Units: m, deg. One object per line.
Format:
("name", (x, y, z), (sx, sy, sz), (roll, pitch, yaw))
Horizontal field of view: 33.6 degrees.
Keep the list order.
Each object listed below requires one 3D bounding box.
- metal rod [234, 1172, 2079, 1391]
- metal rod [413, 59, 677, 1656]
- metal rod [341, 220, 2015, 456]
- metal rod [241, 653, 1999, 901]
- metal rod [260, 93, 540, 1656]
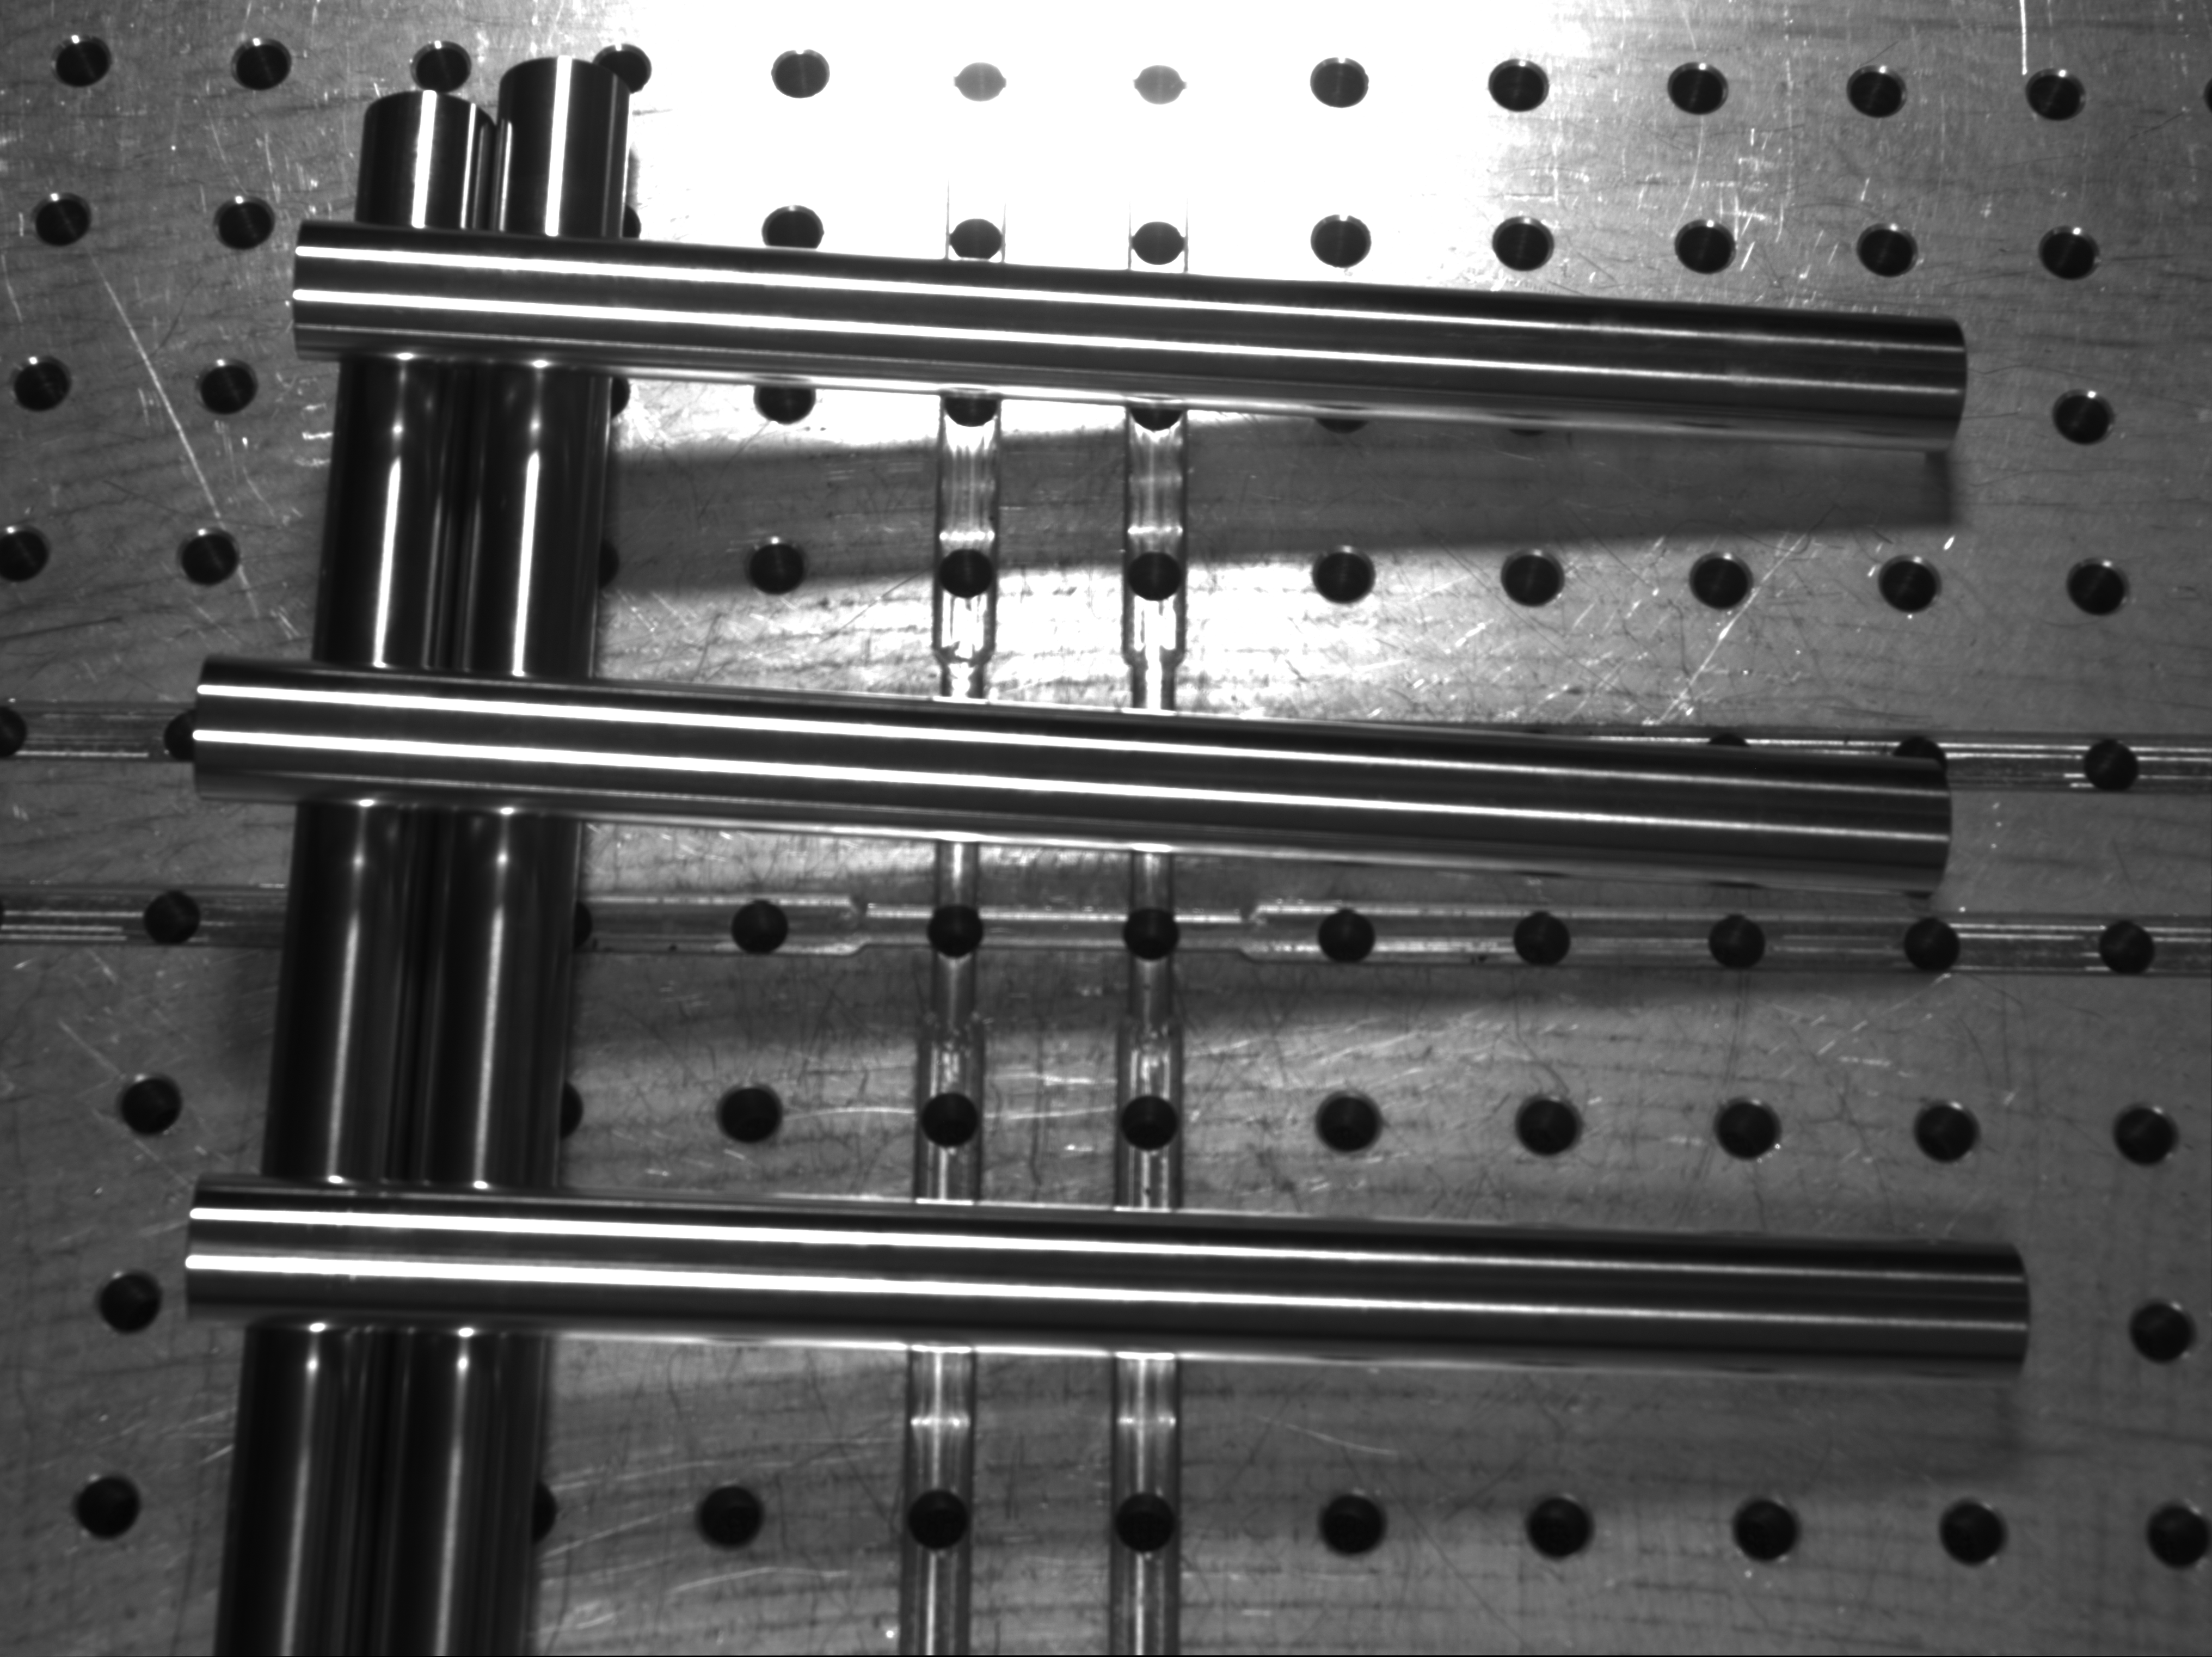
("metal rod", (0.011, 0.075, 0.604), (0.300, 0.025, 0.025), (3, 70, -5))
("metal rod", (-0.097, 0.001, 0.646), (0.025, 0.025, 0.300), (1, 70, 0))
("metal rod", (0.015, -0.089, 0.665), (0.300, 0.025, 0.025), (3, 70, -5))
("metal rod", (0.005, -0.008, 0.634), (0.300, 0.025, 0.025), (3, 70, -5))
("metal rod", (-0.122, 0.008, 0.644), (0.025, 0.025, 0.300), (1, 70, 0))
